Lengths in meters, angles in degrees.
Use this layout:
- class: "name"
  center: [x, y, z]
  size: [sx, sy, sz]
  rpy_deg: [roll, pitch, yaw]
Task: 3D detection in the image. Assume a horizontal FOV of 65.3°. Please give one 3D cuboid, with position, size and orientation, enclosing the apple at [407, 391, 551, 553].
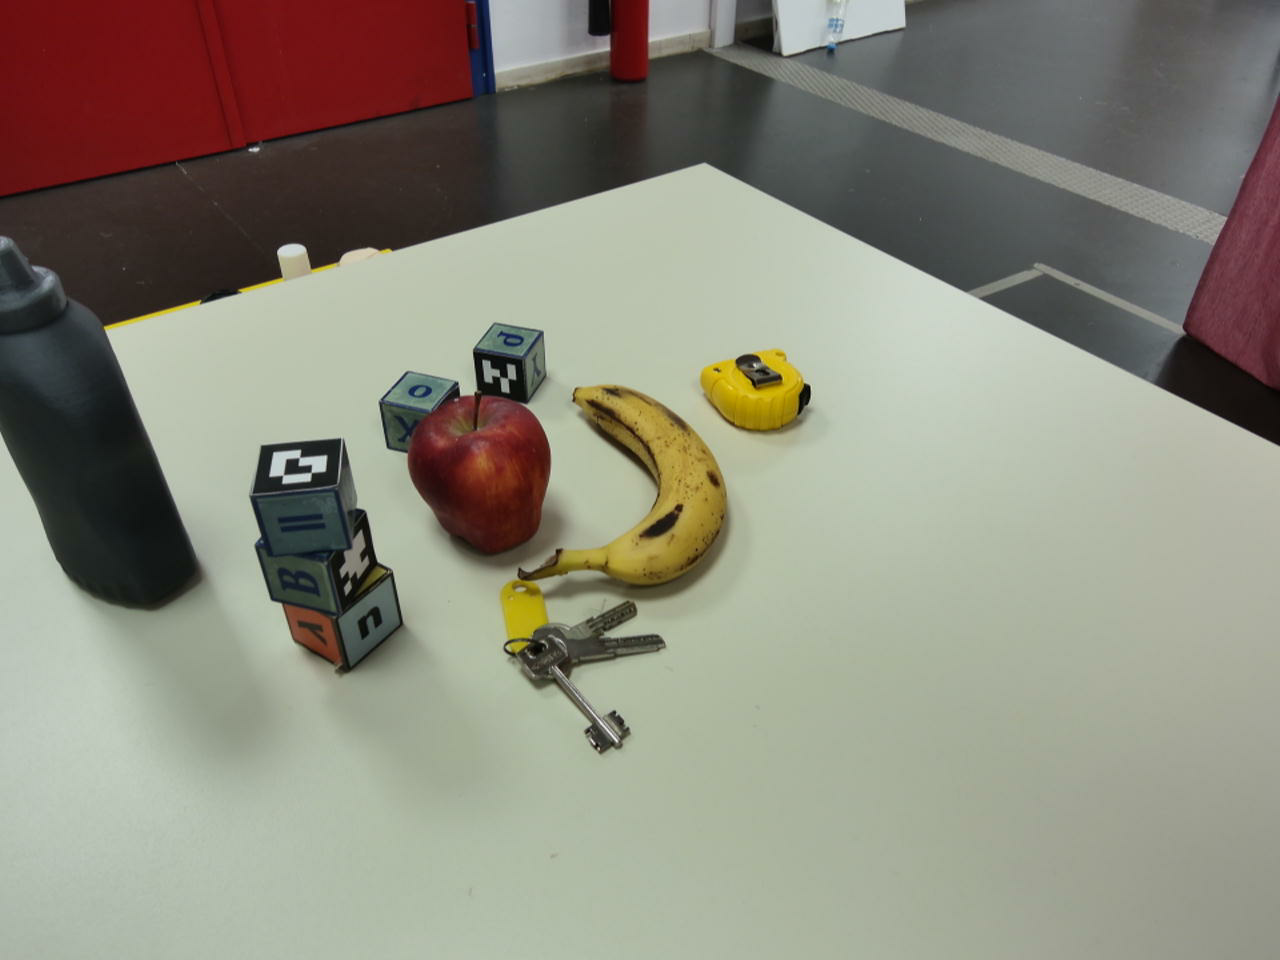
- class: "apple"
  center: [-0.089, -0.008, 0.554]
  size: [0.083, 0.090, 0.083]
  rpy_deg: [0, 38, 0]
